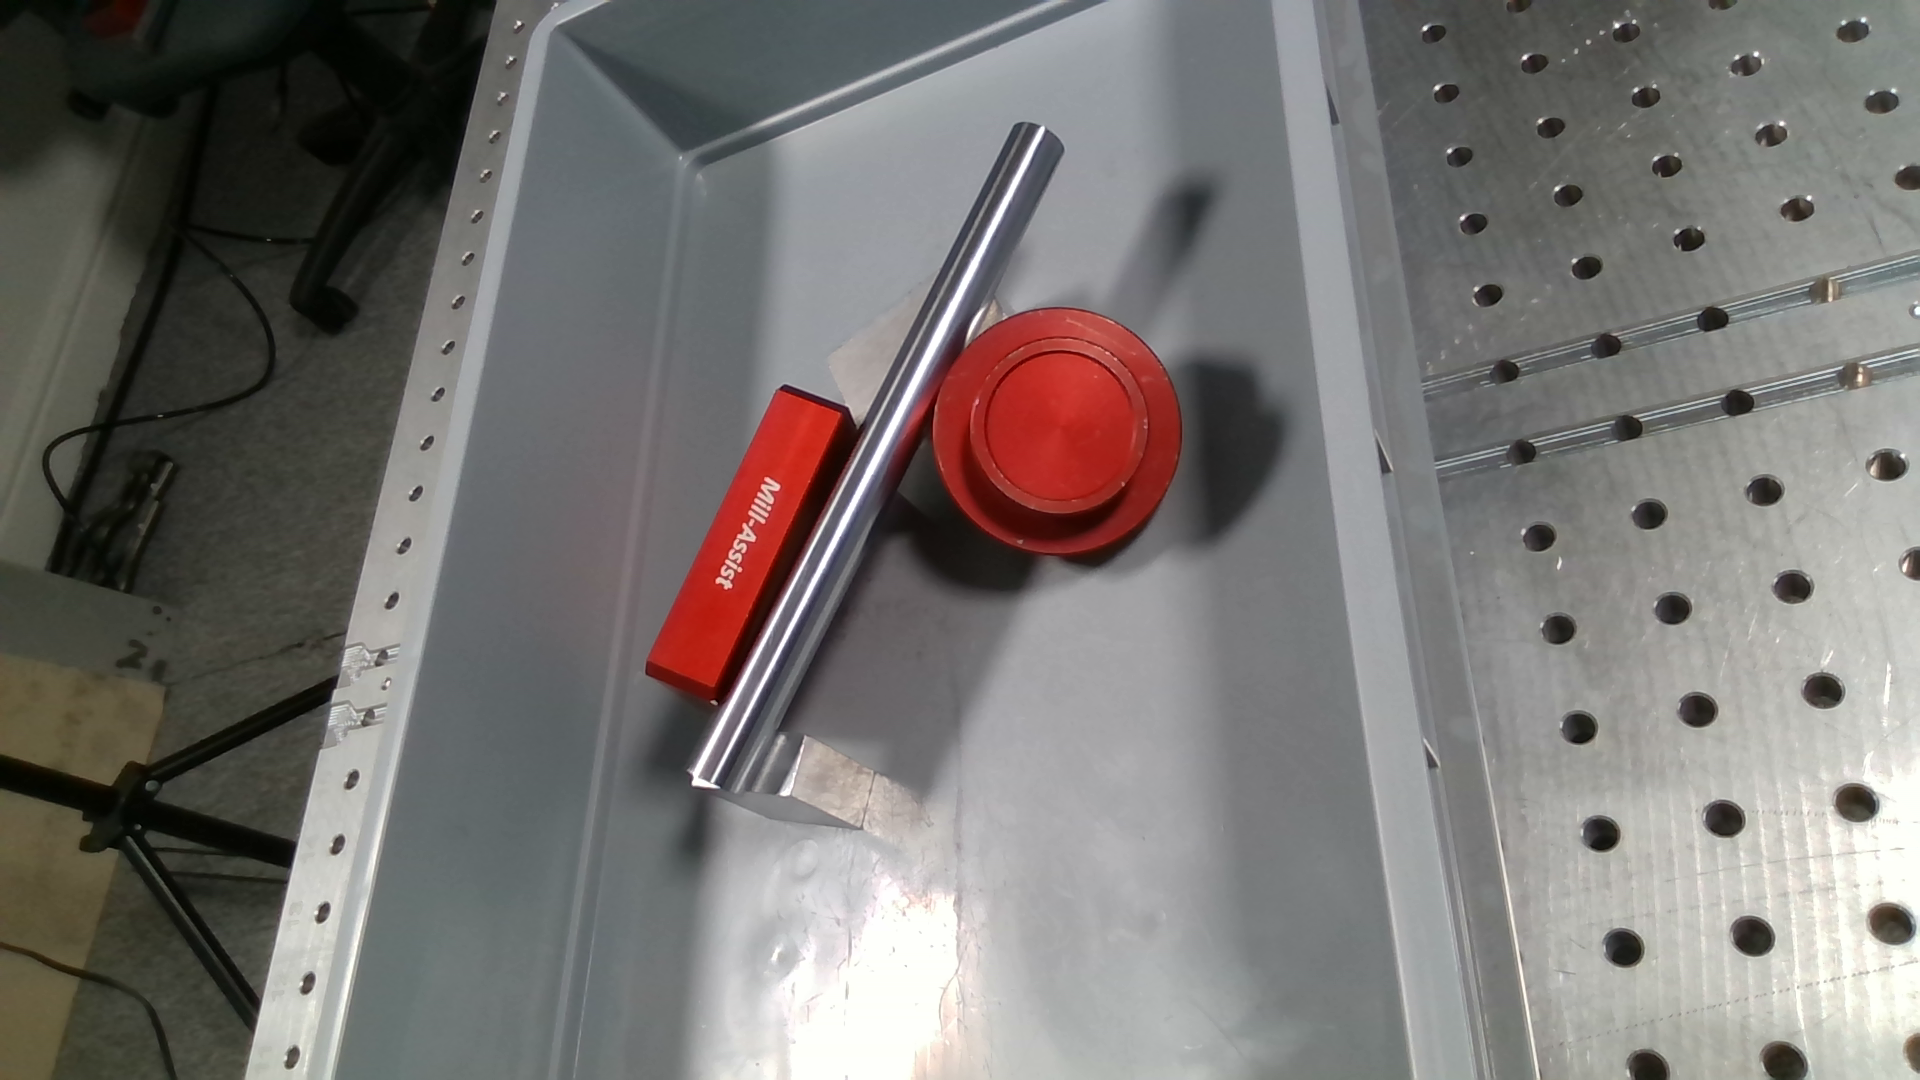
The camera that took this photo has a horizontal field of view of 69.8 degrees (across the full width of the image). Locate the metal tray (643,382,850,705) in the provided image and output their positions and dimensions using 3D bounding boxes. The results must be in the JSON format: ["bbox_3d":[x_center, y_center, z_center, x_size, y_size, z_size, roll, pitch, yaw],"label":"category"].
[{"bbox_3d":[-0.081,0.010,0.583,0.030,0.090,0.130,21,77,9],"label":"metal tray"}]

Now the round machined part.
[{"bbox_3d":[0.038,-0.043,0.539,0.098,0.042,0.098,0,90,1],"label":"round machined part"}]

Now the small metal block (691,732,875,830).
[{"bbox_3d":[-0.071,0.097,0.561,0.050,0.050,0.025,0,66,32],"label":"small metal block"}]

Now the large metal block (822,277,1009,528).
[{"bbox_3d":[-0.004,-0.067,0.605,0.080,0.050,0.080,-34,52,12],"label":"large metal block"}]

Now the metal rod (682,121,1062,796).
[{"bbox_3d":[-0.032,-0.039,0.558,0.025,0.025,0.300,17,75,37],"label":"metal rod"}]
